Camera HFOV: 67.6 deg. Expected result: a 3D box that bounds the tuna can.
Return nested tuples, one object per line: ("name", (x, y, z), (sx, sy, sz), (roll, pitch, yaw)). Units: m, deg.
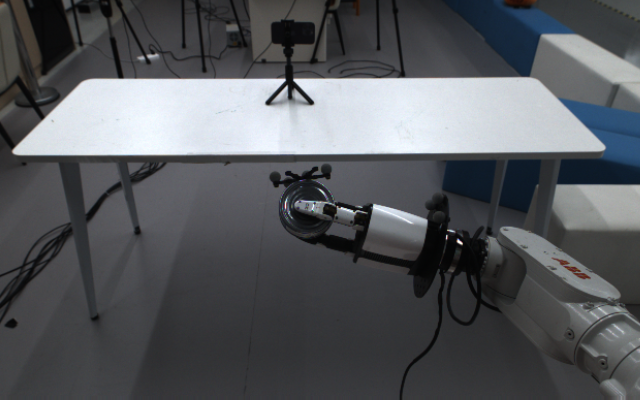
("tuna can", (-0.016, 0.018, 0.723), (0.085, 0.034, 0.085), (0, 72, -1))
